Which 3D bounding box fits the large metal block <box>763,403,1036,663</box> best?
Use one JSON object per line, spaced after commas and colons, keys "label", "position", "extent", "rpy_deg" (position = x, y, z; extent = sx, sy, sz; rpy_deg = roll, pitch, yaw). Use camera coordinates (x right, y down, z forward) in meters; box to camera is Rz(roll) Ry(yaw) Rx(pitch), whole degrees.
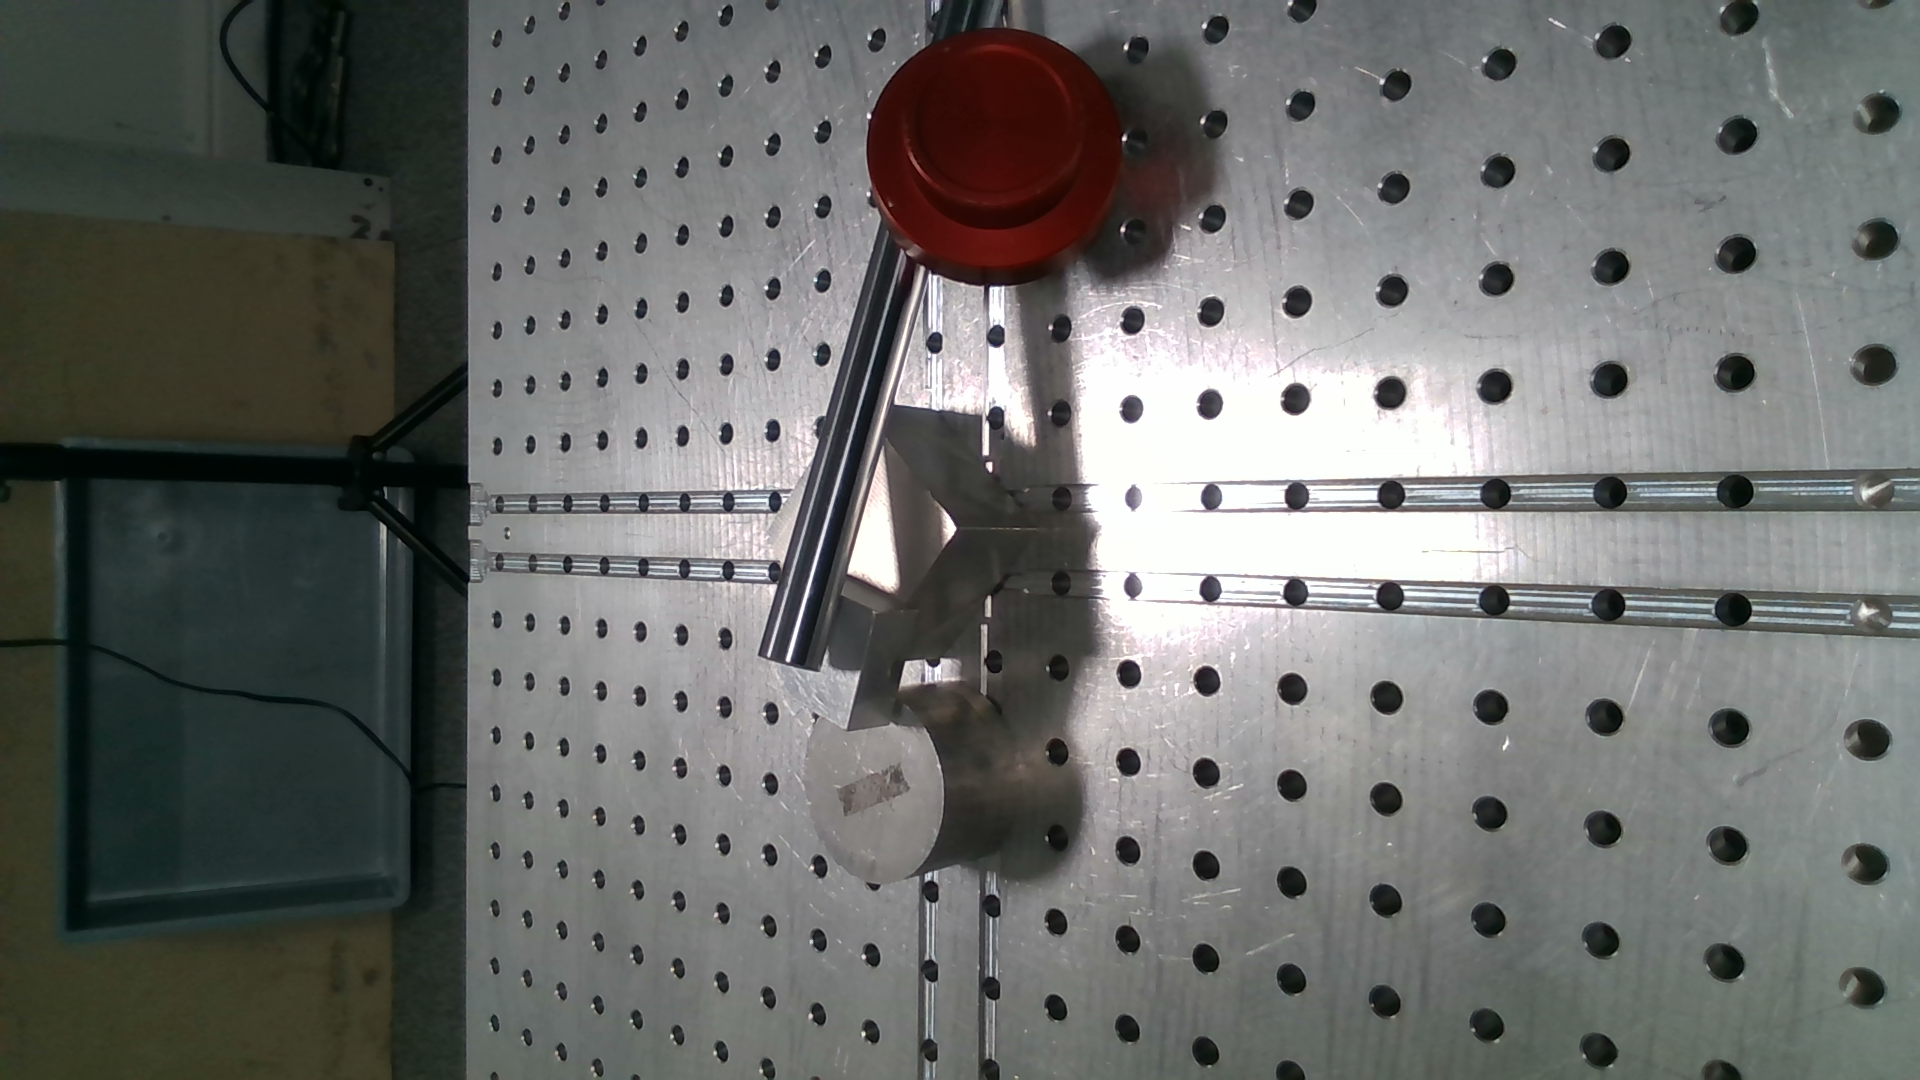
{"label": "large metal block", "position": [-0.028, -0.003, 0.589], "extent": [0.080, 0.050, 0.080], "rpy_deg": [51, 121, 28]}

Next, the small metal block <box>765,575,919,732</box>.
{"label": "small metal block", "position": [-0.049, 0.044, 0.558], "extent": [0.050, 0.025, 0.050], "rpy_deg": [24, 105, 38]}

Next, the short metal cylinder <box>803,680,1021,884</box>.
{"label": "short metal cylinder", "position": [-0.021, 0.102, 0.587], "extent": [0.080, 0.050, 0.080], "rpy_deg": [0, 91, 40]}

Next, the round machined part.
{"label": "round machined part", "position": [0.012, -0.151, 0.527], "extent": [0.098, 0.042, 0.098], "rpy_deg": [0, 79, 2]}

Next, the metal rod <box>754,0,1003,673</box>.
{"label": "metal rod", "position": [-0.030, -0.095, 0.552], "extent": [0.025, 0.025, 0.300], "rpy_deg": [7, 78, 40]}
